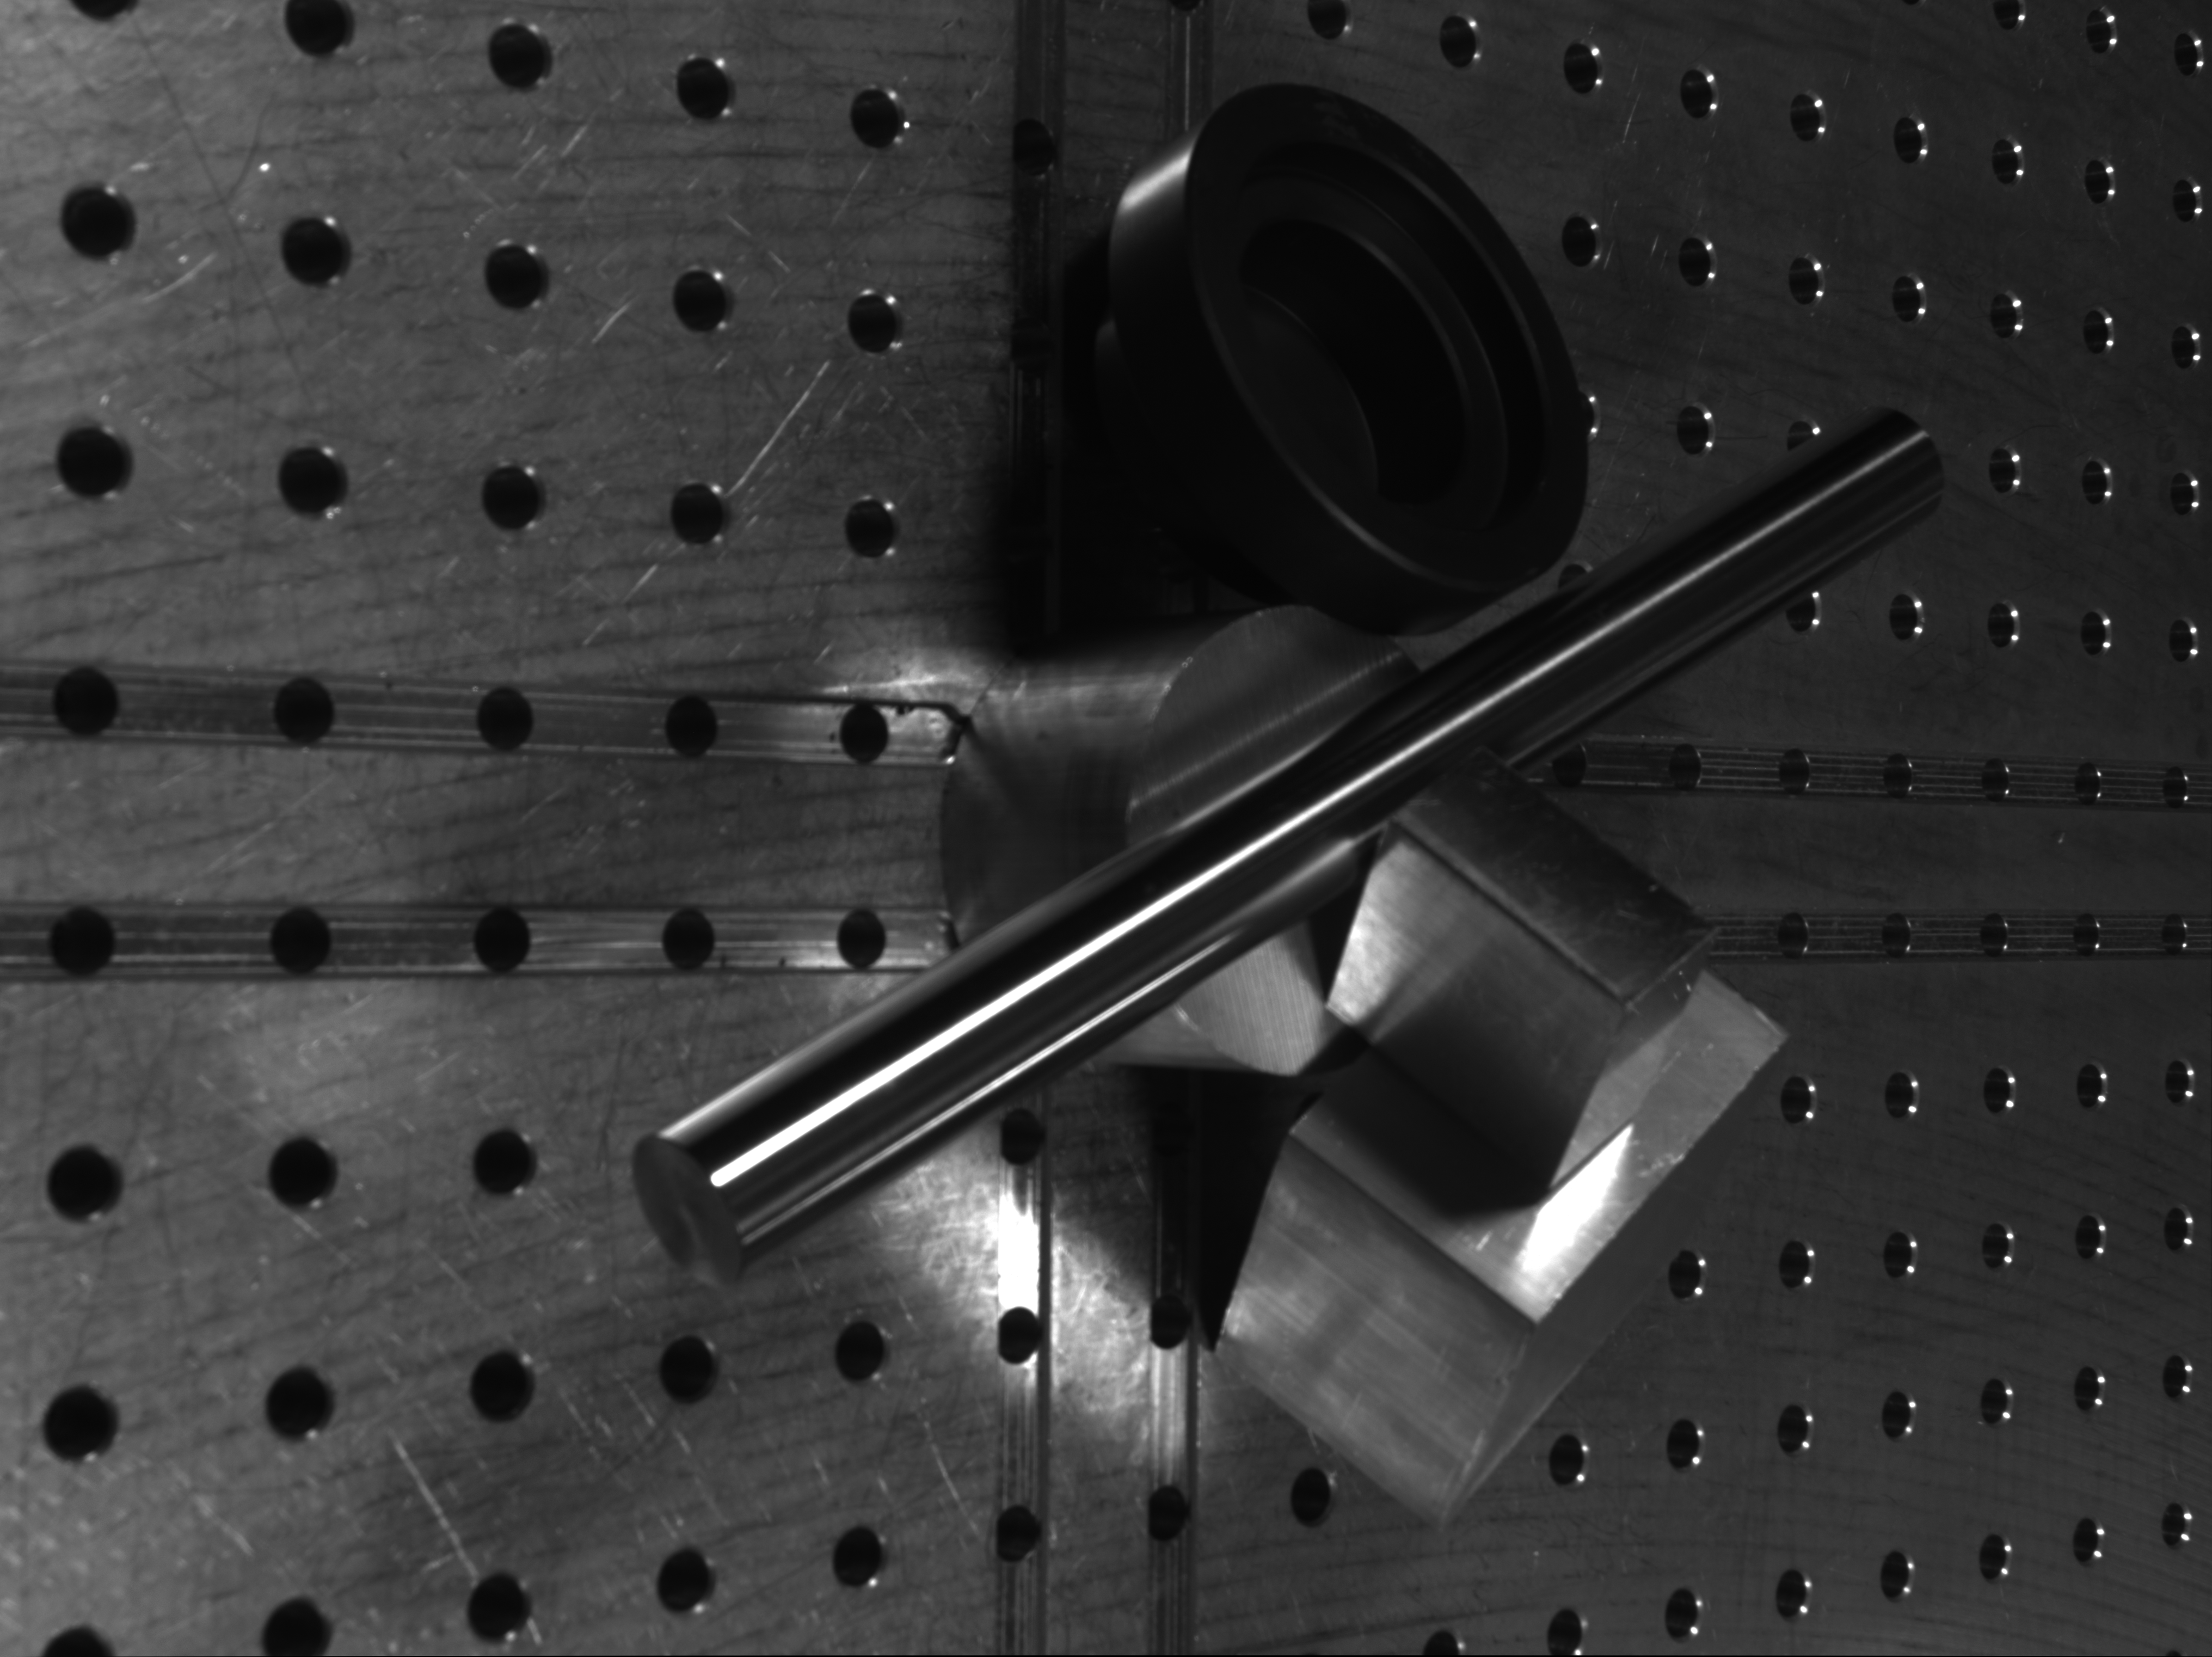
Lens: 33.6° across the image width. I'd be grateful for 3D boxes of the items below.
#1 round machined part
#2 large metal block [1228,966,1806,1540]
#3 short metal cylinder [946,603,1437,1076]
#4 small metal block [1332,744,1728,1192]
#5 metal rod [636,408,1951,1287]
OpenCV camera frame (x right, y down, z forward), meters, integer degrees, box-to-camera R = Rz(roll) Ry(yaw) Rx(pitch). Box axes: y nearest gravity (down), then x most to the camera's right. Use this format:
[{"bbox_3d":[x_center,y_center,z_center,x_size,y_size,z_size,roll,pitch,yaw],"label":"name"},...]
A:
[{"bbox_3d":[0.038,-0.078,0.646,0.098,0.042,0.098,24,52,-35],"label":"round machined part"},{"bbox_3d":[0.072,0.067,0.654,0.080,0.050,0.080,-42,160,-31],"label":"large metal block"},{"bbox_3d":[0.019,0.002,0.639,0.080,0.050,0.080,0,90,-40],"label":"short metal cylinder"},{"bbox_3d":[0.069,0.023,0.602,0.025,0.050,0.050,-36,154,-34],"label":"small metal block"},{"bbox_3d":[0.046,-0.007,0.613,0.301,0.025,0.025,-30,109,-36],"label":"metal rod"}]
